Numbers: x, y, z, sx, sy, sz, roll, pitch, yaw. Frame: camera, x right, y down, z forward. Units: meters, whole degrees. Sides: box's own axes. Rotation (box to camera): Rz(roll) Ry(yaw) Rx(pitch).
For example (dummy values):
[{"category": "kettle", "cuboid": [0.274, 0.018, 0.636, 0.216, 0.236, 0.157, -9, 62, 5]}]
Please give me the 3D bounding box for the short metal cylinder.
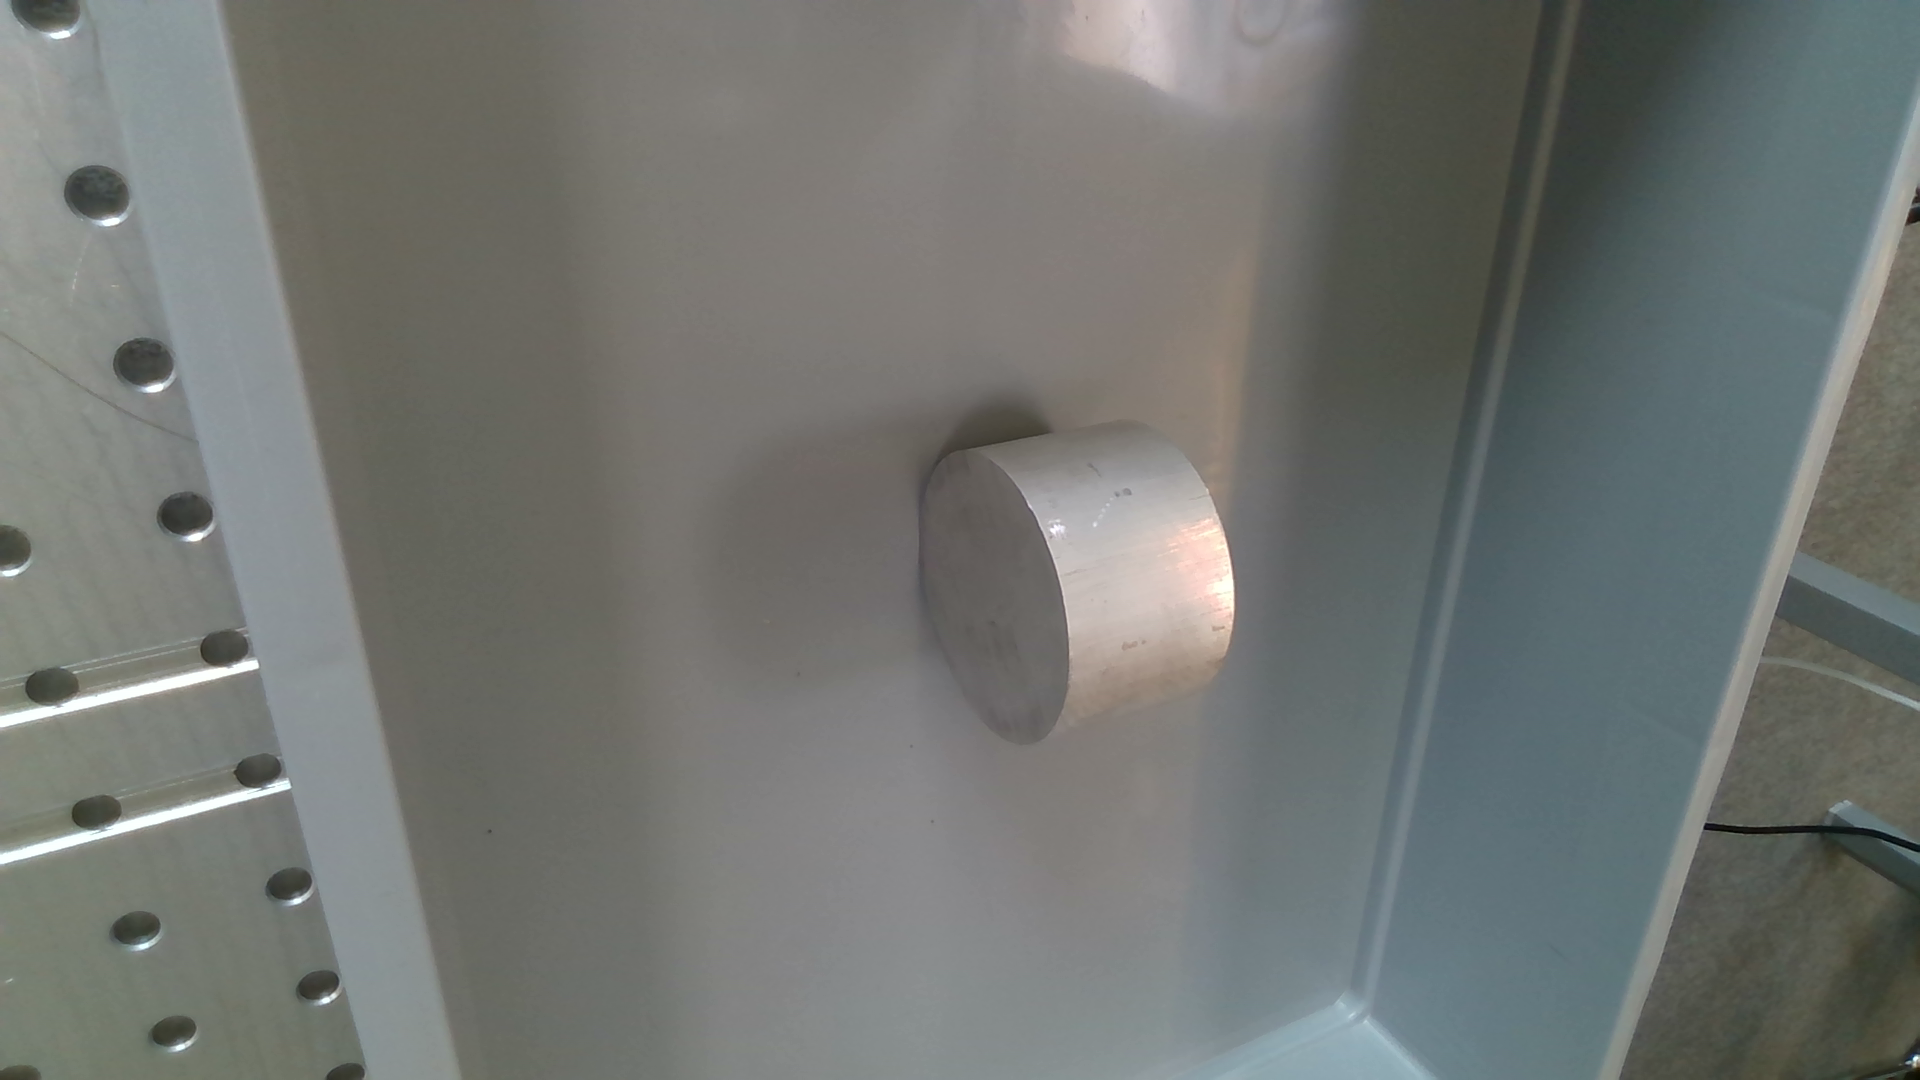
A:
[{"category": "short metal cylinder", "cuboid": [0.029, 0.010, 0.374, 0.050, 0.080, 0.080, -13, 121, -26]}]
